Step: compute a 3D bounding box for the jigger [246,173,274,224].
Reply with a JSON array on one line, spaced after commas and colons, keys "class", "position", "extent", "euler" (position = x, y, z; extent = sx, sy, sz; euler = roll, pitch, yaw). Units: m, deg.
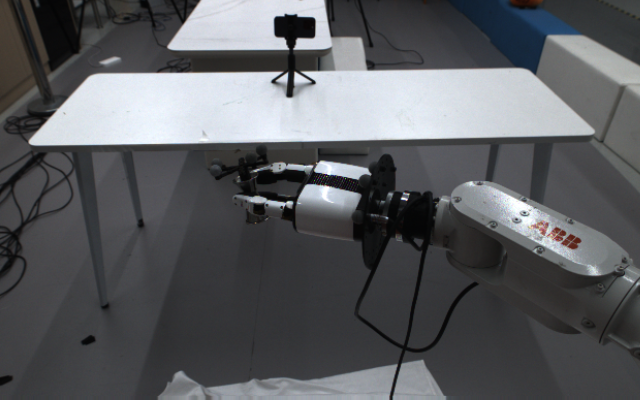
[{"class": "jigger", "position": [-0.099, -0.003, 0.723], "extent": [0.043, 0.071, 0.043], "euler": [-14, 22, 6]}]
